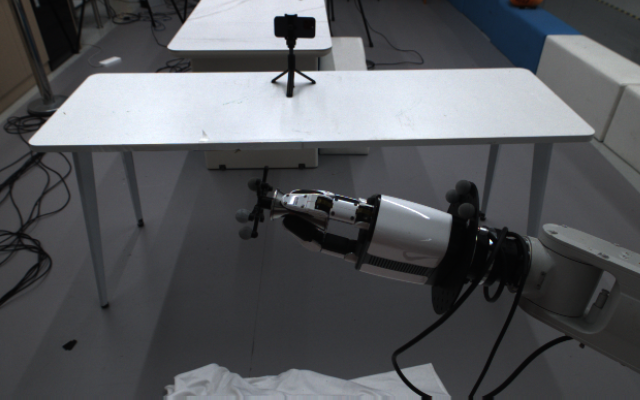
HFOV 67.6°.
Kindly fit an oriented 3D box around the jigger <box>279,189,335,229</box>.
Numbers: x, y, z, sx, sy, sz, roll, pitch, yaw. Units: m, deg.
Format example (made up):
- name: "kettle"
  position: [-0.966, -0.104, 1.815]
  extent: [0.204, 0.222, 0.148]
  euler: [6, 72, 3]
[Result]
- name: "jigger"
  position: [-0.015, 0.008, 0.579]
  extent: [0.071, 0.043, 0.043]
  euler: [11, 35, 3]
